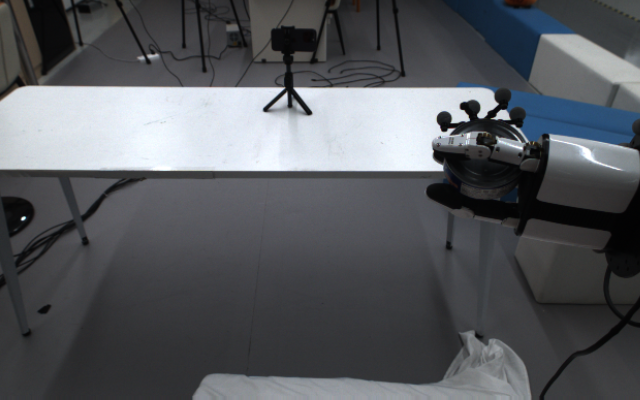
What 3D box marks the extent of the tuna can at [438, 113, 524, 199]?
[{"bbox_3d":[0.178,-0.047,0.527,0.085,0.034,0.085,-6,58,10],"label":"tuna can"}]
